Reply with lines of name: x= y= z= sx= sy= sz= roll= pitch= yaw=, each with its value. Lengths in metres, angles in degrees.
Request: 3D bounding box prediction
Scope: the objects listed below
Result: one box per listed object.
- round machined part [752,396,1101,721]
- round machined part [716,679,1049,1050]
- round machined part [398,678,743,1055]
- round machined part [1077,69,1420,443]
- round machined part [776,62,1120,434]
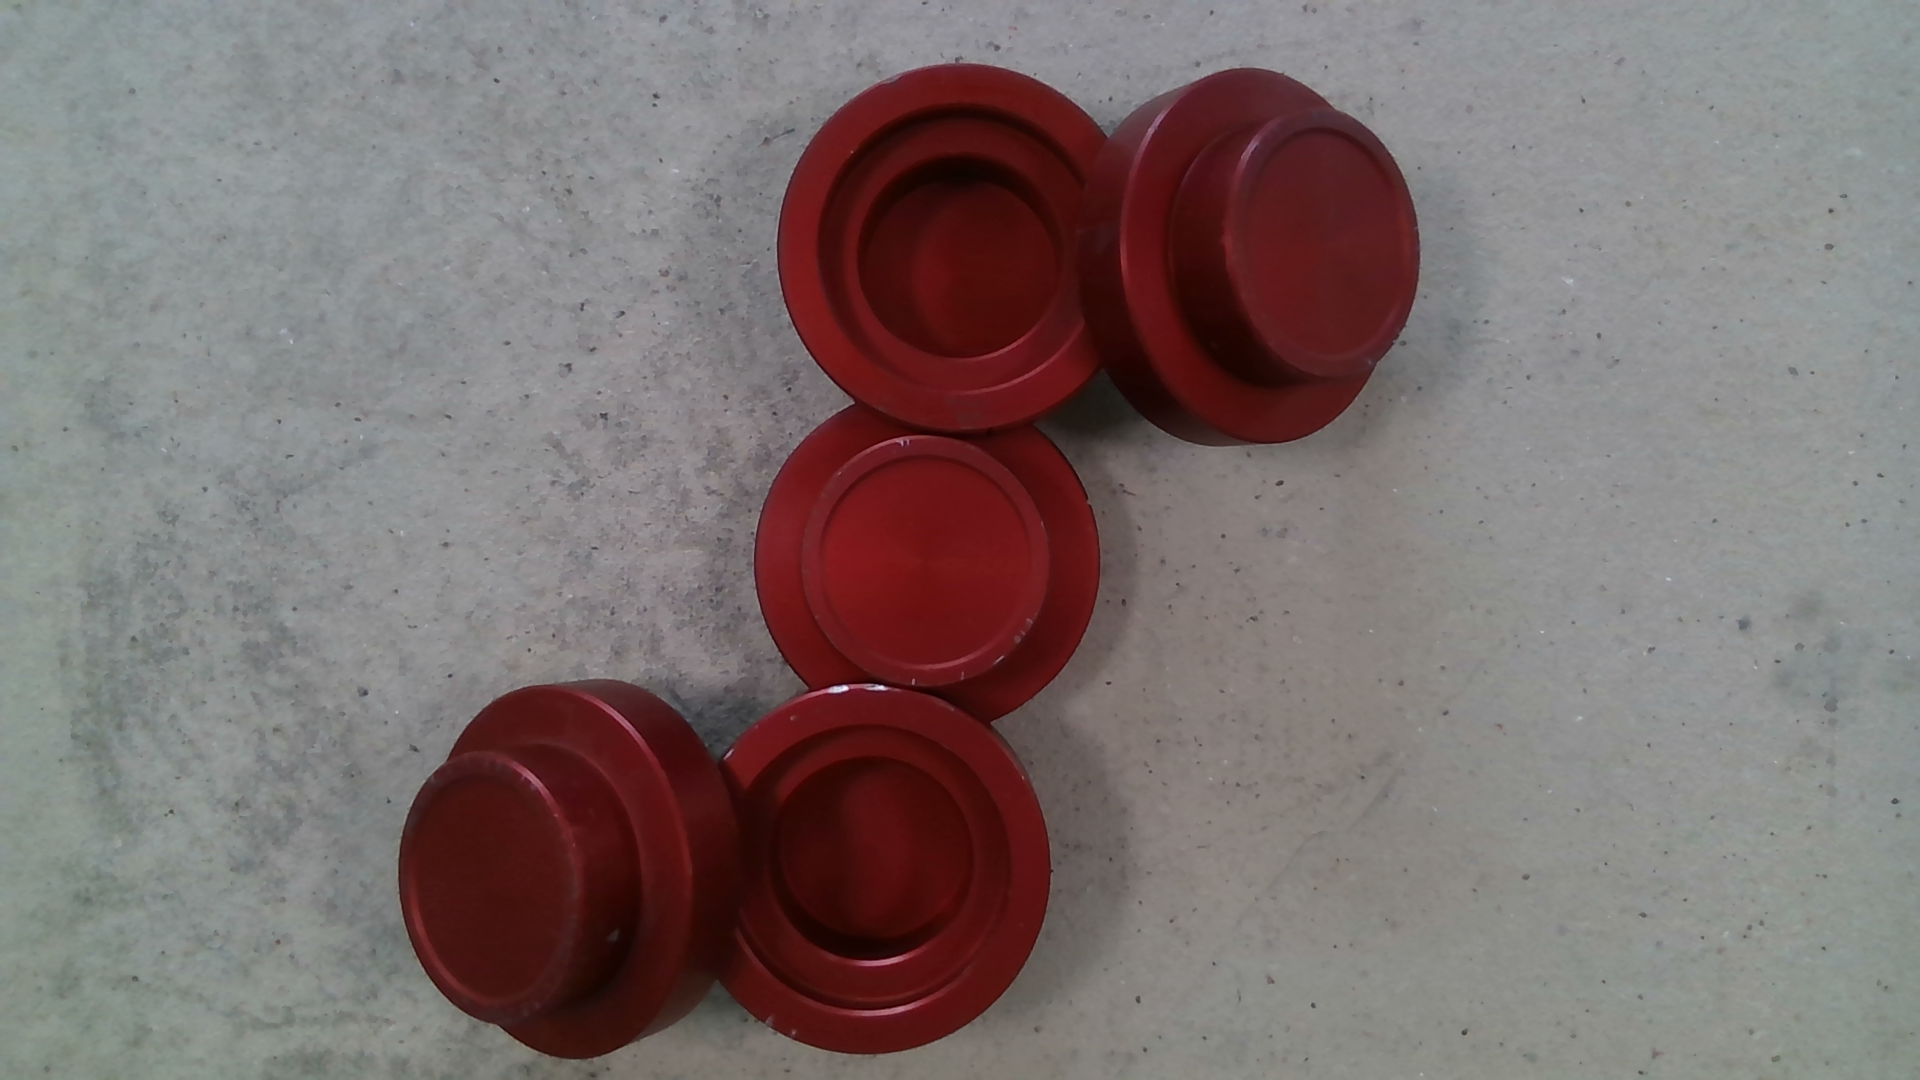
round machined part: x=-0.009 y=0.005 z=0.386 sx=0.098 sy=0.042 sz=0.098 roll=0 pitch=89 yaw=-2
round machined part: x=-0.025 y=0.087 z=0.387 sx=0.098 sy=0.042 sz=0.098 roll=0 pitch=89 yaw=0
round machined part: x=-0.109 y=0.087 z=0.365 sx=0.098 sy=0.042 sz=0.098 roll=0 pitch=90 yaw=29
round machined part: x=0.082 y=-0.075 z=0.364 sx=0.098 sy=0.042 sz=0.098 roll=-1 pitch=91 yaw=-31
round machined part: x=0.000 y=-0.078 z=0.386 sx=0.098 sy=0.042 sz=0.098 roll=0 pitch=89 yaw=0
